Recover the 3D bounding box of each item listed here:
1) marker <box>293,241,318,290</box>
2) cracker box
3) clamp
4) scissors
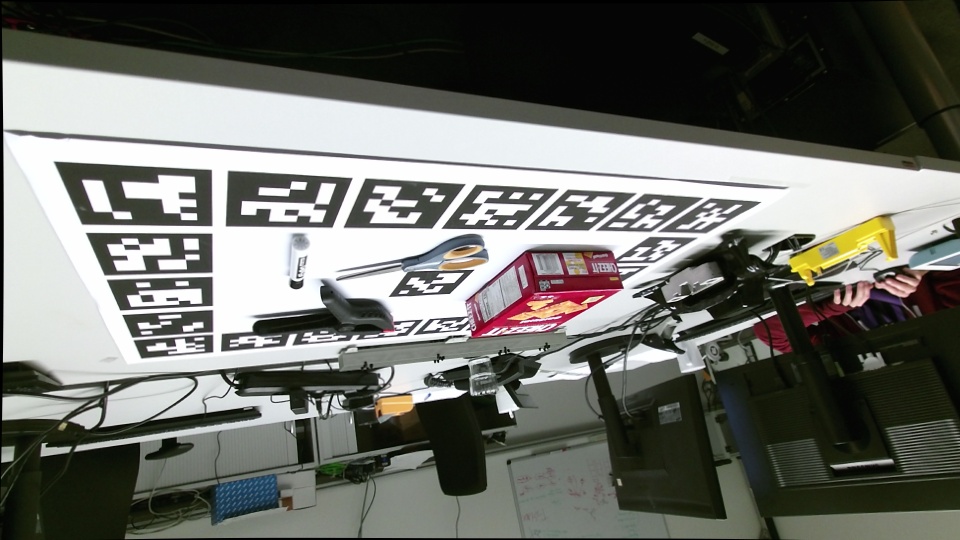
[{"bbox_3d":[-0.206,0.000,0.627,0.020,0.019,0.121,-4,158,-24],"label":"marker"},{"bbox_3d":[0.100,0.046,0.860,0.165,0.071,0.214,-1,156,-28],"label":"cracker box"},{"bbox_3d":[-0.203,0.071,0.829,0.166,0.036,0.203,-23,156,29],"label":"clamp"},{"bbox_3d":[-0.080,-0.003,0.697,0.203,0.016,0.088,-11,161,1],"label":"scissors"}]
